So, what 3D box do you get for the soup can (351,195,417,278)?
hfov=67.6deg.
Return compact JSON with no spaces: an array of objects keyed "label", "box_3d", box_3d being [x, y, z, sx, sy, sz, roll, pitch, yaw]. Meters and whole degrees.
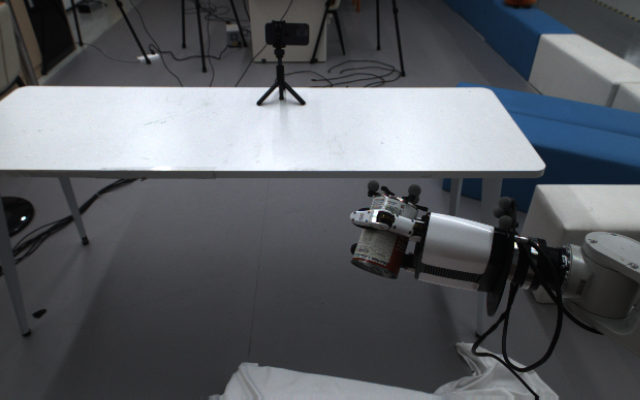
[{"label":"soup can","box_3d":[0.092,0.050,0.677,0.067,0.067,0.101,15,74,18]}]
